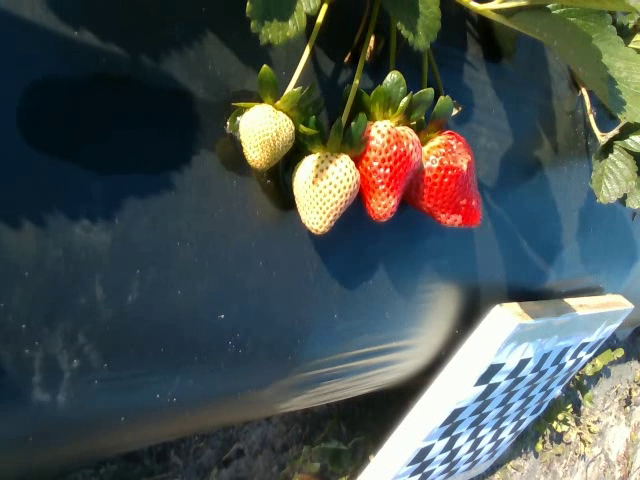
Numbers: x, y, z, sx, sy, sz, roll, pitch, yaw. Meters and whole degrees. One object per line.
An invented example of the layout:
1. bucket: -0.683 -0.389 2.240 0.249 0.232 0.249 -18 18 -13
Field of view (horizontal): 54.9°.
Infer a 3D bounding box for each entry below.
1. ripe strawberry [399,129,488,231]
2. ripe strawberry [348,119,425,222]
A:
1. ripe strawberry: 0.072 -0.031 0.341 0.056 0.067 0.051 -36 4 -10
2. ripe strawberry: 0.032 -0.034 0.304 0.043 0.061 0.050 -2 -20 23
